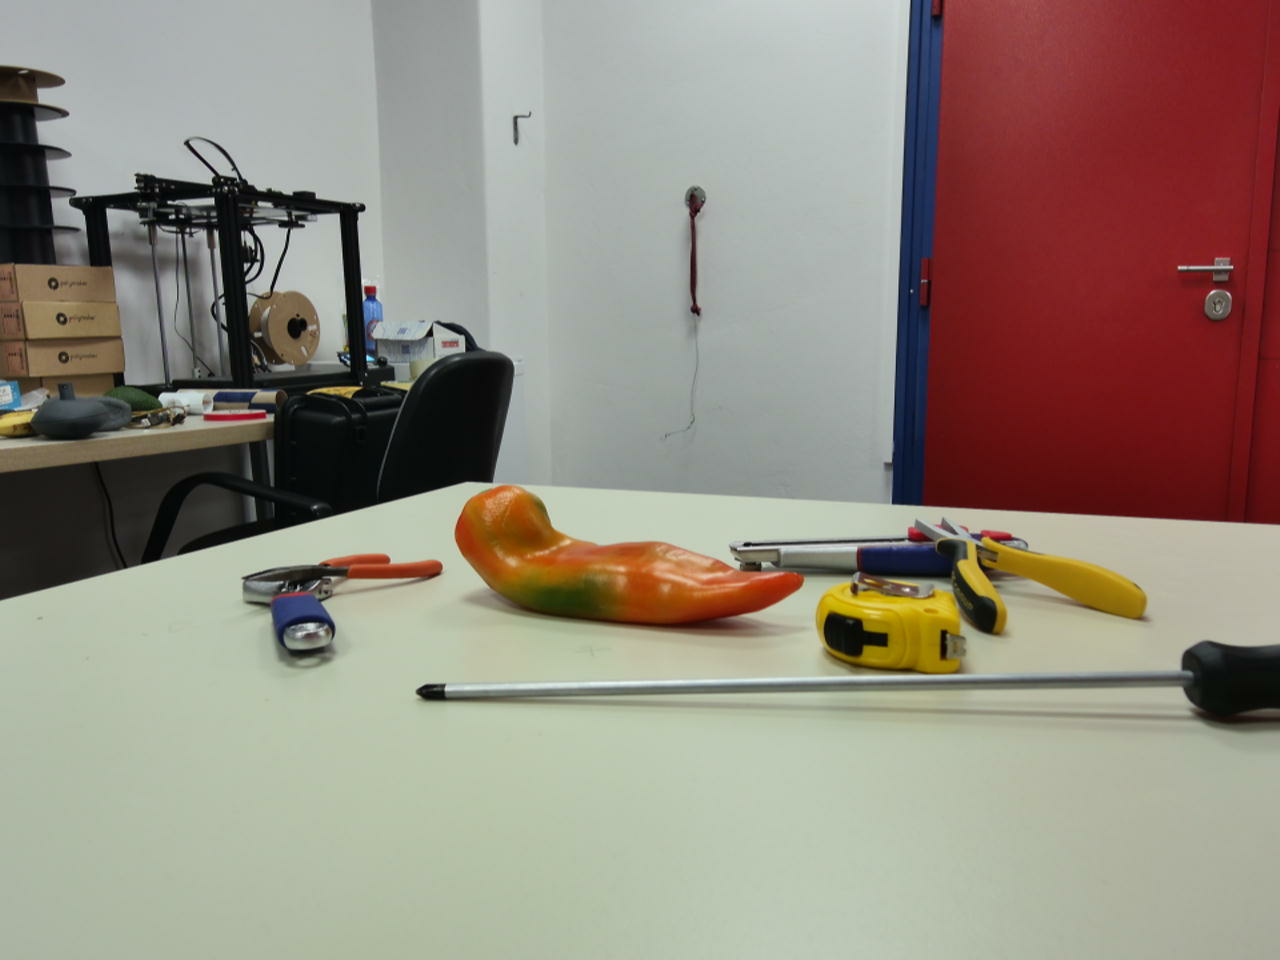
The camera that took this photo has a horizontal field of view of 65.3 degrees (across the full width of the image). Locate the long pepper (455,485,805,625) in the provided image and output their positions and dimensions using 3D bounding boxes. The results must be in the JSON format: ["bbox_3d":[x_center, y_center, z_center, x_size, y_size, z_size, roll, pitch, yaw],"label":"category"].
[{"bbox_3d":[-0.012,0.039,0.529,0.199,0.065,0.066,4,7,29],"label":"long pepper"}]
